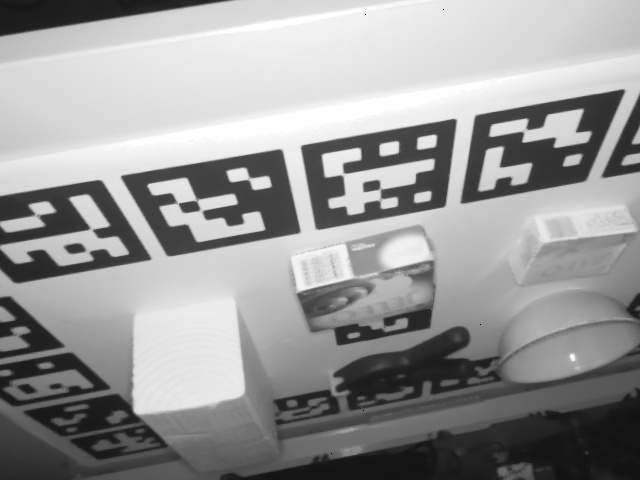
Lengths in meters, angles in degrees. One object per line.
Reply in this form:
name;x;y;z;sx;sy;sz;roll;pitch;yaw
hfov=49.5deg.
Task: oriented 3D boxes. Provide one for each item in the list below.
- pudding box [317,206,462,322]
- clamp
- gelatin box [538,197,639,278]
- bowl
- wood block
pudding box;0.057;0.021;0.573;0.114;0.039;0.089;-11;140;-4
clamp;0.121;0.139;0.761;0.164;0.037;0.121;-14;144;7
gelatin box;0.243;-0.002;0.594;0.090;0.030;0.072;-4;141;-9
bowl;0.279;0.099;0.730;0.162;0.055;0.160;-6;141;-4
wood block;-0.088;0.134;0.641;0.090;0.091;0.204;-7;143;-3
